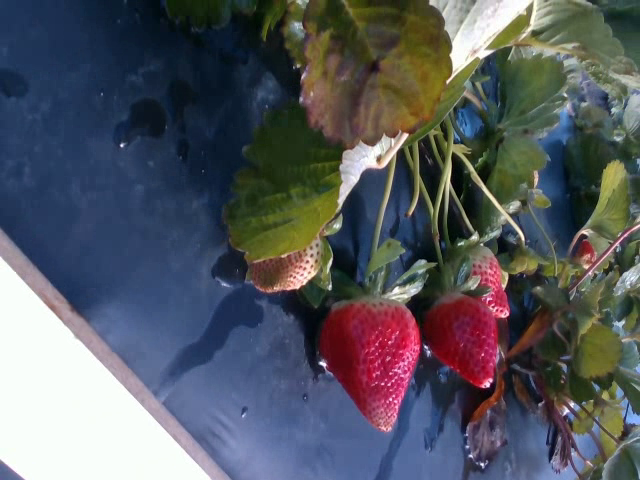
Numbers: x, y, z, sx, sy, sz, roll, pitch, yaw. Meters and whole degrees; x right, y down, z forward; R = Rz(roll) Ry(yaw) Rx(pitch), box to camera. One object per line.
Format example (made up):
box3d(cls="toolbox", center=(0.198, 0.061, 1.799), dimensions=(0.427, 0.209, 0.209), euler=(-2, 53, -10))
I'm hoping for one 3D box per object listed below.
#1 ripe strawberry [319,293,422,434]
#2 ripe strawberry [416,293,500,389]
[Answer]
box3d(cls="ripe strawberry", center=(0.024, 0.053, 0.260), dimensions=(0.050, 0.065, 0.050), euler=(14, -45, -23))
box3d(cls="ripe strawberry", center=(0.078, 0.057, 0.327), dimensions=(0.045, 0.055, 0.042), euler=(-10, -32, -18))
